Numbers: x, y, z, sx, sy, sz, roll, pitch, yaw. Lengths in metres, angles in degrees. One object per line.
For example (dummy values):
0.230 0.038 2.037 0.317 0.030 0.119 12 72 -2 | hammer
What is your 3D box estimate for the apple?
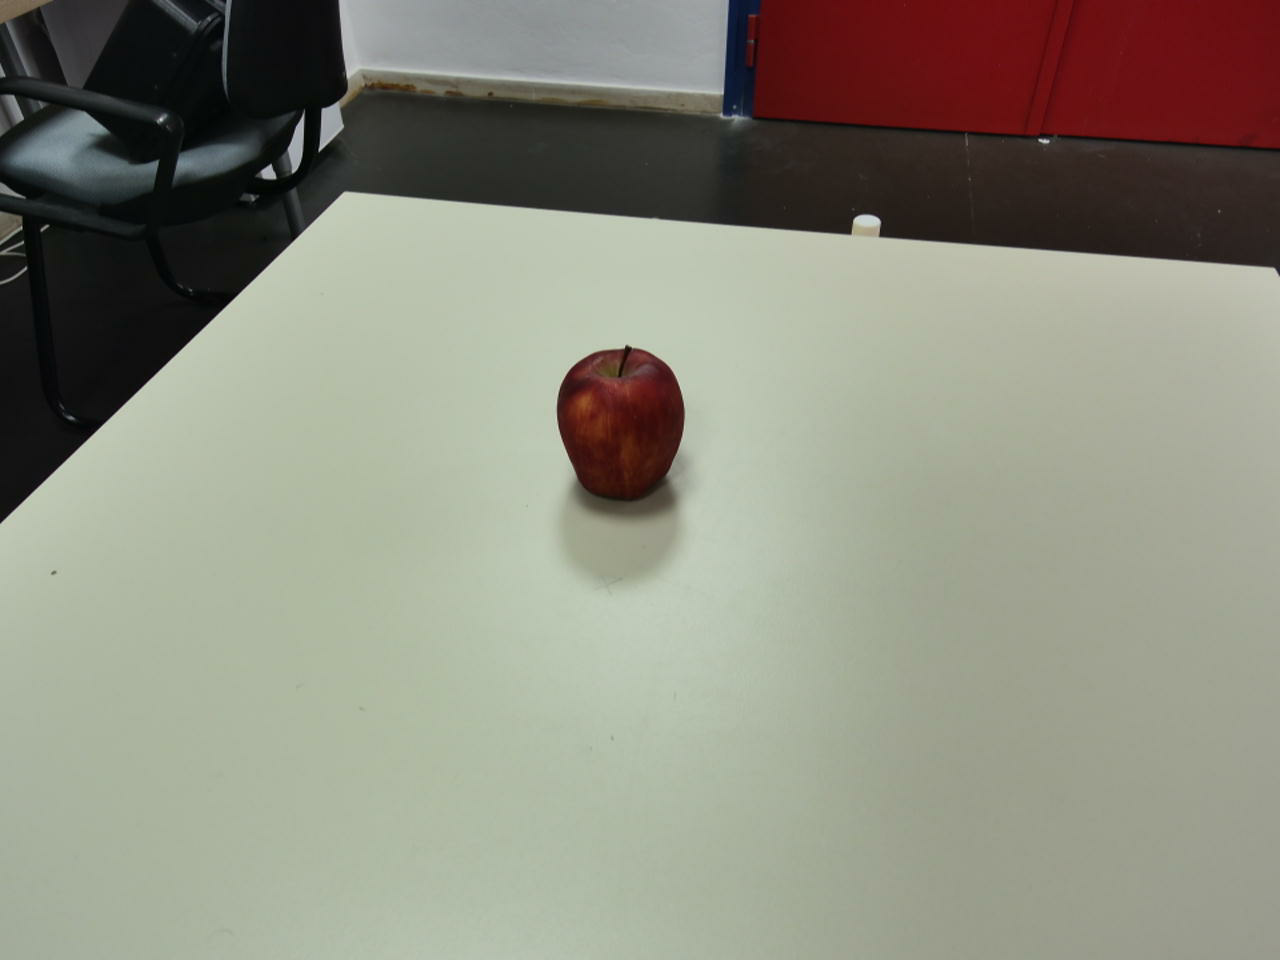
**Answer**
-0.012 -0.038 0.583 0.083 0.090 0.083 -1 39 1 | apple
